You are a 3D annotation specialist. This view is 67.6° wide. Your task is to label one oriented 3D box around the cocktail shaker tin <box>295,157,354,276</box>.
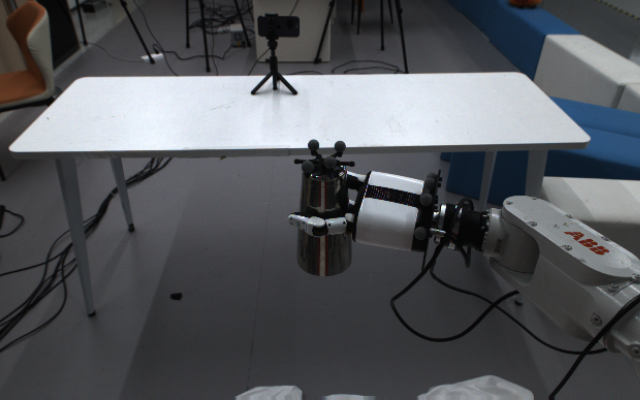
[{"bbox_3d":[0.008,0.023,0.755,0.093,0.170,0.093,0,33,0],"label":"cocktail shaker tin"}]
